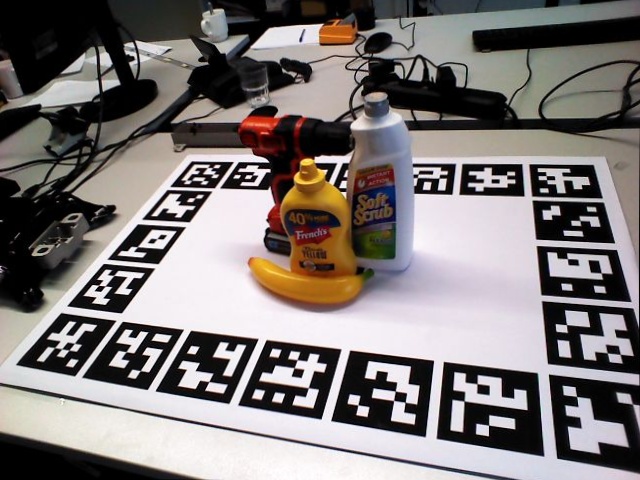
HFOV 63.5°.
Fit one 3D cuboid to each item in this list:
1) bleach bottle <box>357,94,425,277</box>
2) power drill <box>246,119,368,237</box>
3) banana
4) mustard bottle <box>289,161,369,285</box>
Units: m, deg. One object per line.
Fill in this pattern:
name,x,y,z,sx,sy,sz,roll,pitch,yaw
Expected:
bleach bottle,0.089,-0.069,0.694,0.103,0.251,0.067,6,35,21
power drill,-0.012,-0.081,0.741,0.185,0.187,0.057,14,43,27
banana,-0.006,0.065,0.727,0.198,0.039,0.073,6,42,24
mustard bottle,0.009,-0.019,0.689,0.097,0.192,0.058,5,40,18
